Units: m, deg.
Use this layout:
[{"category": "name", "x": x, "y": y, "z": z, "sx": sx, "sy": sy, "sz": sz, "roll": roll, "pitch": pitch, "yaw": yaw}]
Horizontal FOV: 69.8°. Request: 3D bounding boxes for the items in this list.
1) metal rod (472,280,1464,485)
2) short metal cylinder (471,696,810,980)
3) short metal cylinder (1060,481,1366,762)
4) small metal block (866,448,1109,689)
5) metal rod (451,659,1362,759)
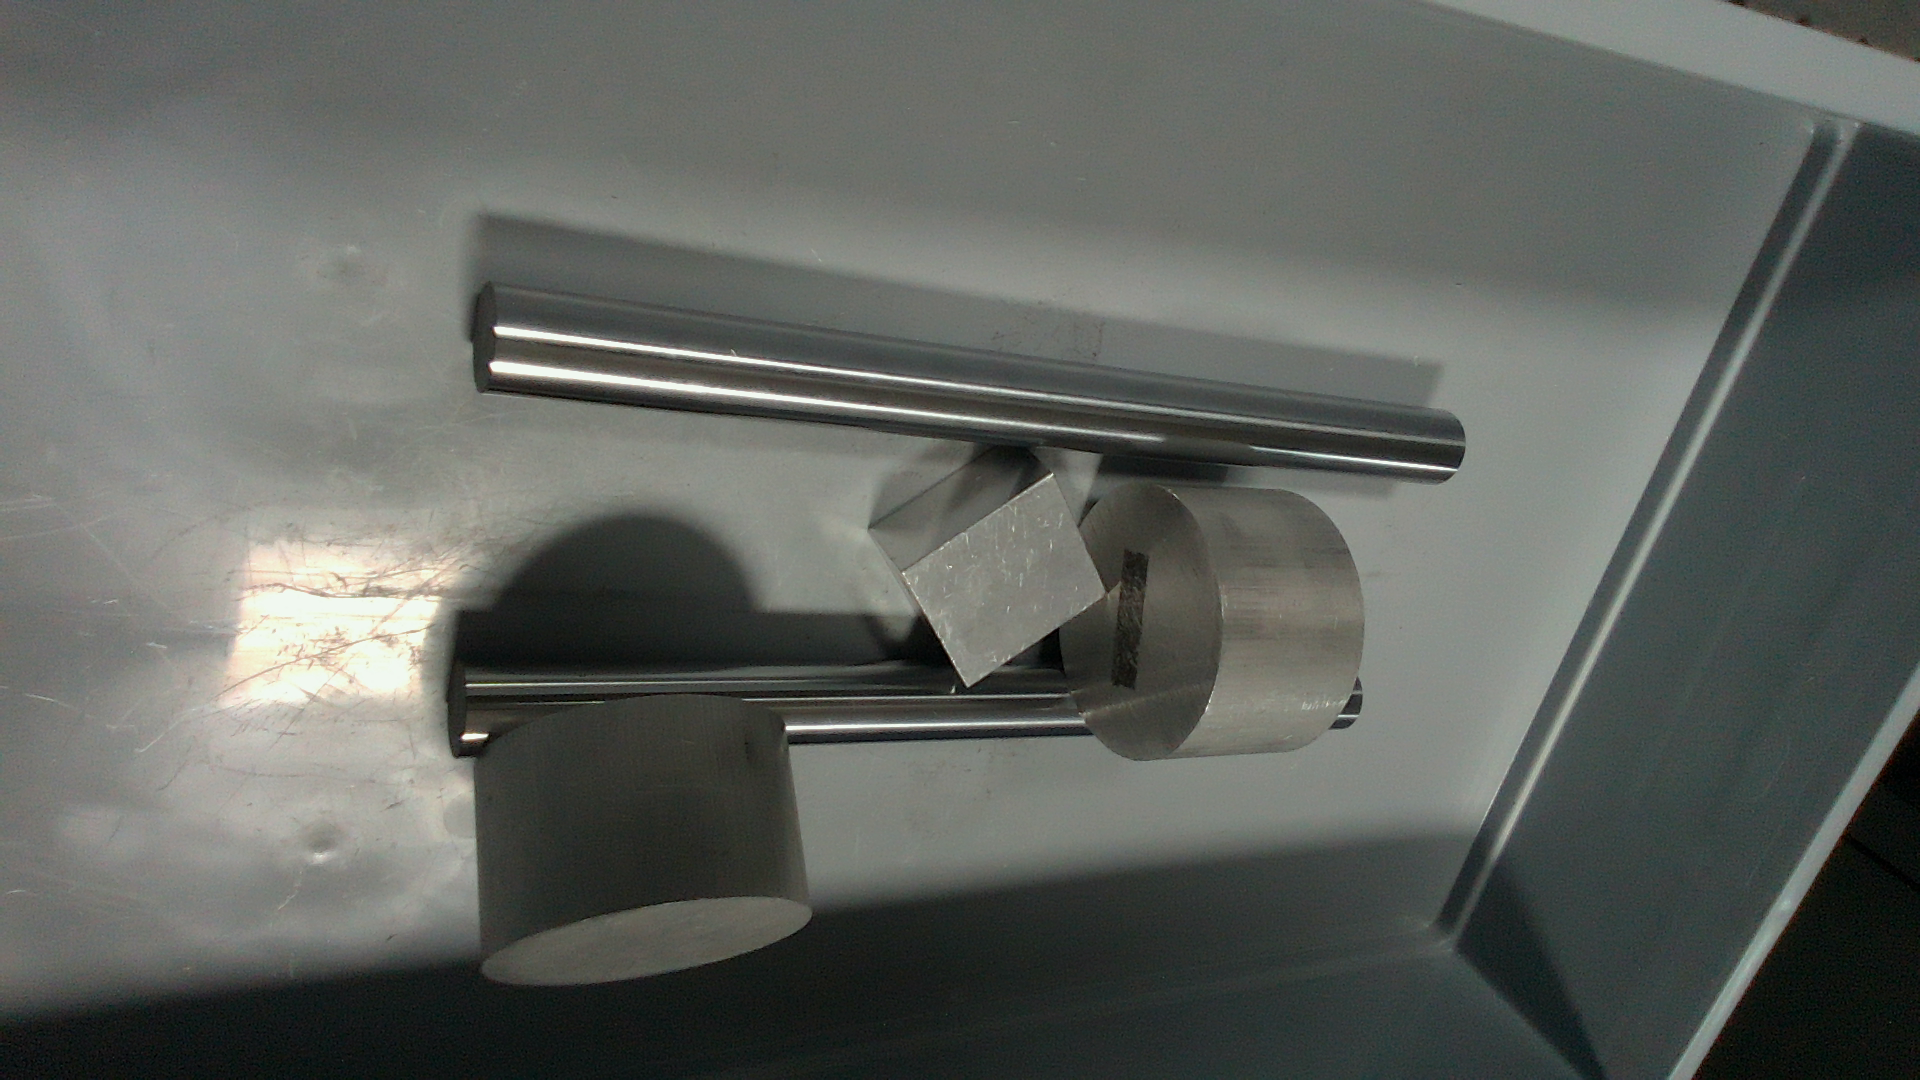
[{"category": "metal rod", "x": 0.025, "y": -0.038, "z": 0.378, "sx": 0.301, "sy": 0.025, "sz": 0.025, "roll": 3, "pitch": 117, "yaw": -30}, {"category": "short metal cylinder", "x": -0.082, "y": 0.078, "z": 0.353, "sx": 0.080, "sy": 0.050, "sz": 0.080, "roll": -10, "pitch": 155, "yaw": -5}, {"category": "short metal cylinder", "x": 0.072, "y": 0.024, "z": 0.406, "sx": 0.050, "sy": 0.080, "sz": 0.080, "roll": 2, "pitch": 118, "yaw": -29}, {"category": "small metal block", "x": 0.009, "y": 0.007, "z": 0.396, "sx": 0.050, "sy": 0.025, "sz": 0.050, "roll": -33, "pitch": 129, "yaw": -7}, {"category": "metal rod", "x": 0.005, "y": 0.049, "z": 0.419, "sx": 0.301, "sy": 0.025, "sz": 0.025, "roll": 3, "pitch": 117, "yaw": -30}]
